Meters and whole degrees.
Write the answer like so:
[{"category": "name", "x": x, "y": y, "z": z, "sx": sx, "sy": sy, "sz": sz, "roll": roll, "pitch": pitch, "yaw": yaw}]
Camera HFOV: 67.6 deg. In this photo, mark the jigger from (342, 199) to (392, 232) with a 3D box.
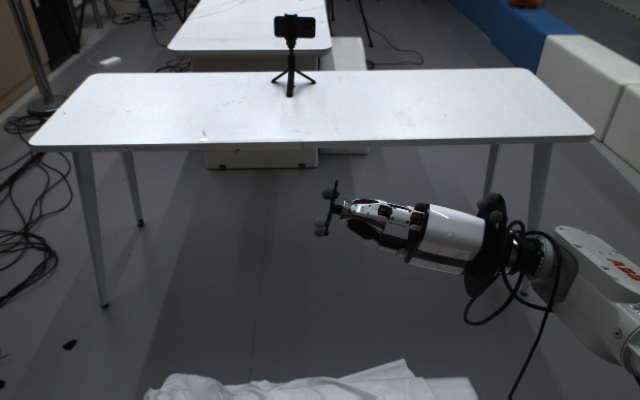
[{"category": "jigger", "x": 0.073, "y": 0.020, "z": 0.737, "sx": 0.071, "sy": 0.043, "sz": 0.043, "roll": 13, "pitch": 36, "yaw": 3}]
